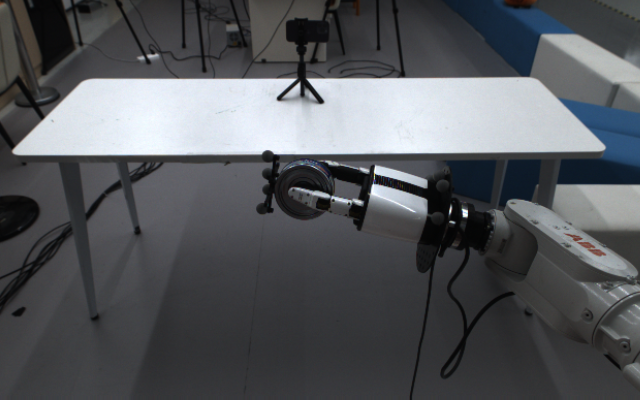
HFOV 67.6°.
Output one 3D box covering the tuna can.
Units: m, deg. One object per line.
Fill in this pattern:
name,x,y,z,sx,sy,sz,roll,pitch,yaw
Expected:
tuna can,-0.020,-0.016,0.699,0.085,0.085,0.034,4,18,3
